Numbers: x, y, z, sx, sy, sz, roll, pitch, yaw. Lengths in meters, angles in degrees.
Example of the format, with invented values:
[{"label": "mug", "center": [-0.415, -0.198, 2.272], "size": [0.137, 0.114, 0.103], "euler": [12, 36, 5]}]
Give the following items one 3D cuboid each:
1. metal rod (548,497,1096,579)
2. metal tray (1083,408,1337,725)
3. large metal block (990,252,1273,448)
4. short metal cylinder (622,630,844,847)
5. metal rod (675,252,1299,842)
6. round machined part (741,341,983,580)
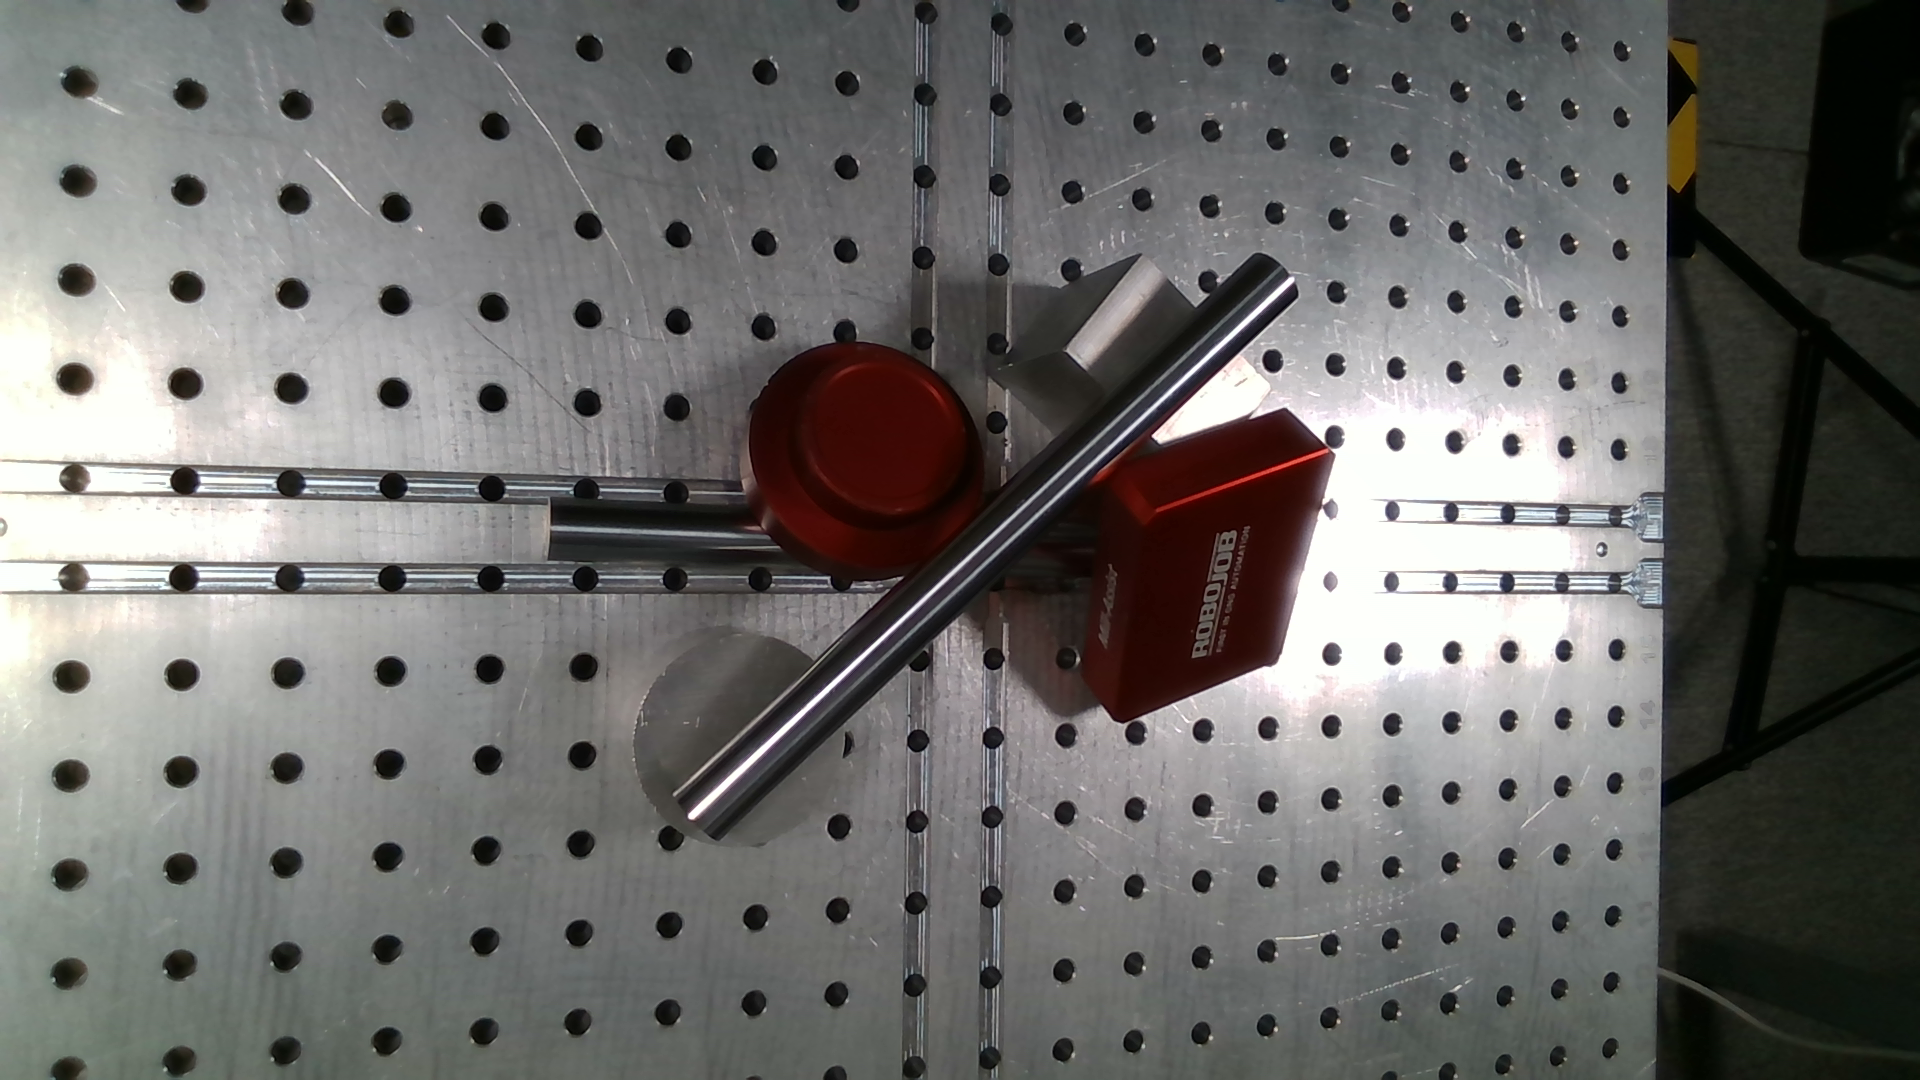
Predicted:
[{"label": "metal rod", "center": [-0.017, 0.002, 0.582], "size": [0.300, 0.025, 0.025], "euler": [2, 89, -20]}, {"label": "metal tray", "center": [0.102, 0.014, 0.581], "size": [0.090, 0.030, 0.130], "euler": [-19, 138, -20]}, {"label": "large metal block", "center": [0.071, -0.068, 0.586], "size": [0.080, 0.080, 0.050], "euler": [43, 76, -15]}, {"label": "short metal cylinder", "center": [-0.091, 0.076, 0.542], "size": [0.080, 0.050, 0.080], "euler": [0, 90, -20]}, {"label": "metal rod", "center": [0.014, -0.001, 0.518], "size": [0.300, 0.025, 0.025], "euler": [-43, 104, -7]}, {"label": "round machined part", "center": [-0.036, -0.035, 0.549], "size": [0.098, 0.042, 0.098], "euler": [6, 71, -19]}]
